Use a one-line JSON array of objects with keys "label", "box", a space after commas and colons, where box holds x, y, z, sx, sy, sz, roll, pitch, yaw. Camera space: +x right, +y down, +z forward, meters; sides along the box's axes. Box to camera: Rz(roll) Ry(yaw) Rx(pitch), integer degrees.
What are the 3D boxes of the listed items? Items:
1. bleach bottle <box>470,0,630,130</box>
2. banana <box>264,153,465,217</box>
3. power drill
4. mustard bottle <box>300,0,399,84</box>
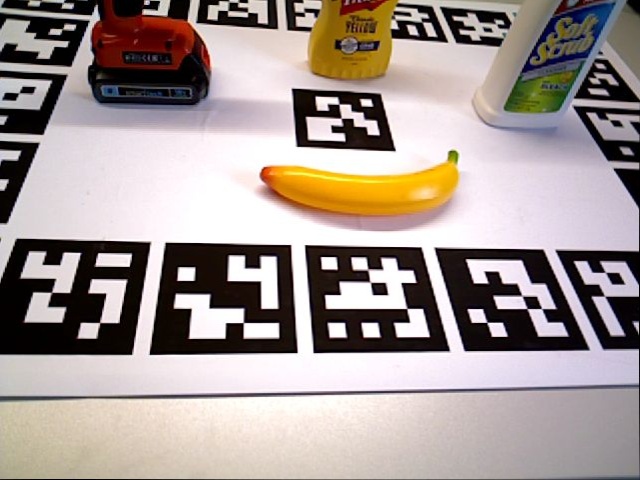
[{"label": "bleach bottle", "box": [0.238, -0.228, 0.523, 0.102, 0.257, 0.066, 7, 49, -5]}, {"label": "banana", "box": [0.050, -0.052, 0.477, 0.195, 0.040, 0.073, -5, 54, -10]}, {"label": "power drill", "box": [-0.136, -0.244, 0.477, 0.183, 0.191, 0.056, -6, 52, -10]}, {"label": "mustard bottle", "box": [0.040, -0.258, 0.558, 0.095, 0.196, 0.058, -5, 51, -16]}]
